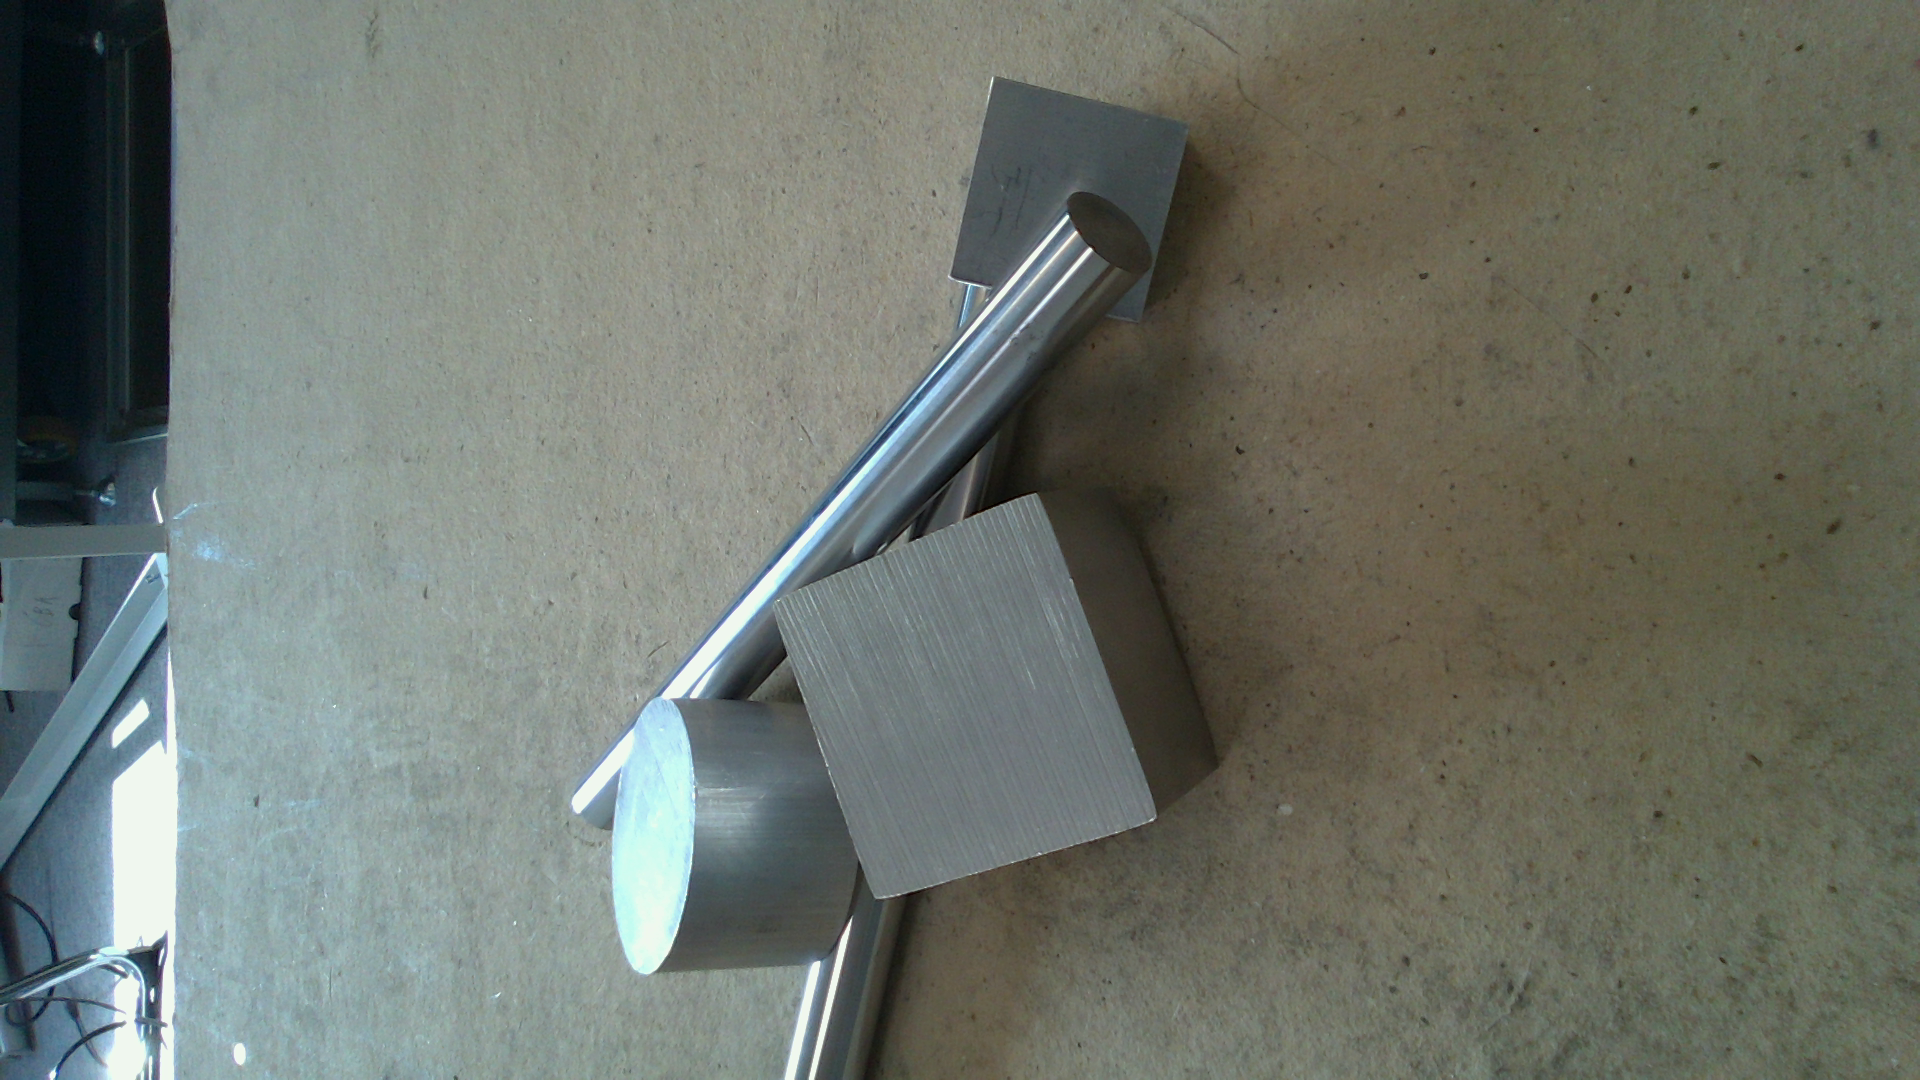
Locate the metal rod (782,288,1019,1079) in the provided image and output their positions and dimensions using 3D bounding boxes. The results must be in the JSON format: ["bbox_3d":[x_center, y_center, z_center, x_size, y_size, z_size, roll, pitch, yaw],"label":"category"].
[{"bbox_3d":[-0.012,0.036,0.405,0.025,0.025,0.300,22,104,38],"label":"metal rod"}]

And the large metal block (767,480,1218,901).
[{"bbox_3d":[0.009,0.037,0.352,0.080,0.050,0.080,-22,85,25],"label":"large metal block"}]

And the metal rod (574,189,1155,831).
[{"bbox_3d":[-0.047,0.012,0.412,0.299,0.025,0.025,-45,63,38],"label":"metal rod"}]

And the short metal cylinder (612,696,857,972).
[{"bbox_3d":[-0.070,0.089,0.421,0.080,0.050,0.080,-21,65,58],"label":"short metal cylinder"}]

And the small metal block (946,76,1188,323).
[{"bbox_3d":[0.027,-0.087,0.356,0.050,0.025,0.050,13,100,-1],"label":"small metal block"}]
